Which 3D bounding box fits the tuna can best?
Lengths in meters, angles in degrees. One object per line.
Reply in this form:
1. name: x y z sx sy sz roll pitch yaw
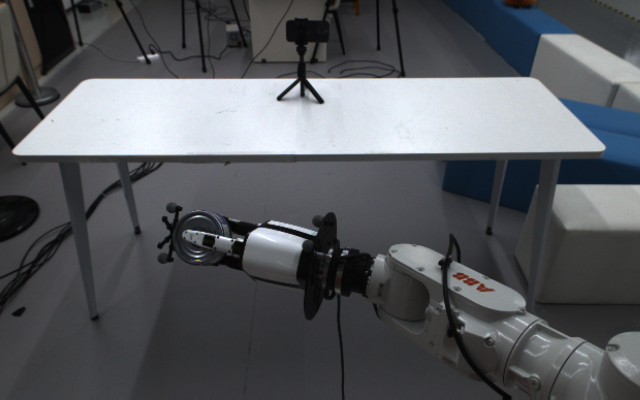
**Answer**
1. tuna can: -0.179 0.062 0.742 0.085 0.085 0.034 10 -5 11
